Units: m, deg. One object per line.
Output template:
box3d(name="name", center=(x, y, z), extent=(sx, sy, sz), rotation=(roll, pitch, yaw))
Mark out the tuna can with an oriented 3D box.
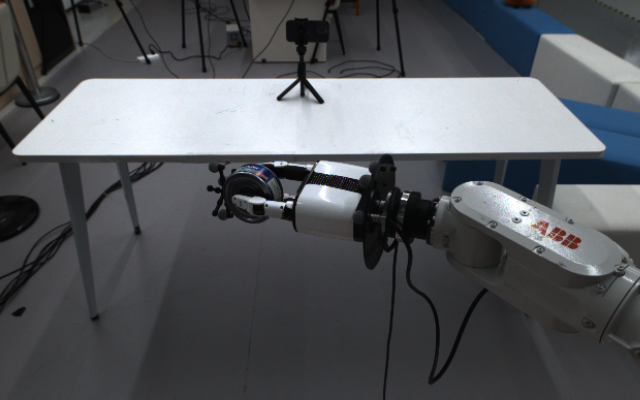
box3d(name="tuna can", center=(-0.097, -0.010, 0.716), extent=(0.085, 0.085, 0.034), rotation=(12, 28, 14))
